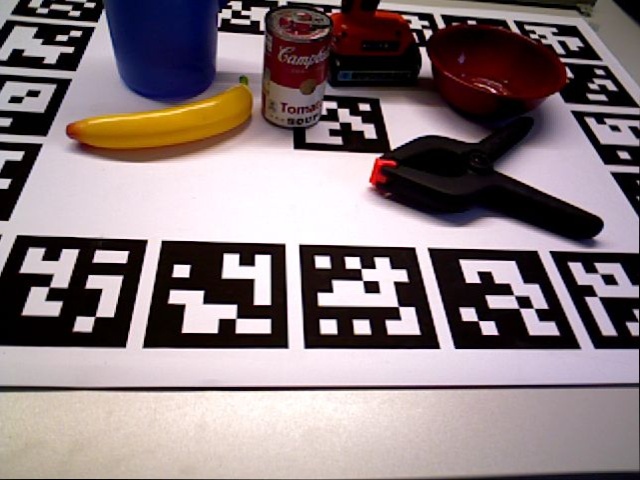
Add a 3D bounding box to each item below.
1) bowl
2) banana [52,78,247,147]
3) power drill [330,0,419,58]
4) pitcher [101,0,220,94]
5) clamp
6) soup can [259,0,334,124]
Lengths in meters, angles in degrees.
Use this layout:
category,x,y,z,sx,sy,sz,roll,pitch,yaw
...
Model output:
category,x,y,z,sx,sy,sz,roll,pitch,yaw
bowl,0.190,-0.189,0.611,0.160,0.056,0.159,3,50,-5
banana,-0.147,-0.119,0.516,0.193,0.040,0.074,-19,46,-25
power drill,0.088,-0.290,0.570,0.182,0.191,0.056,-3,49,-12
pitcher,-0.142,-0.273,0.509,0.185,0.248,0.132,-19,51,-24
clamp,0.147,-0.070,0.504,0.201,0.037,0.163,-2,53,-10
soup can,-0.026,-0.177,0.539,0.067,0.104,0.067,4,40,-4
